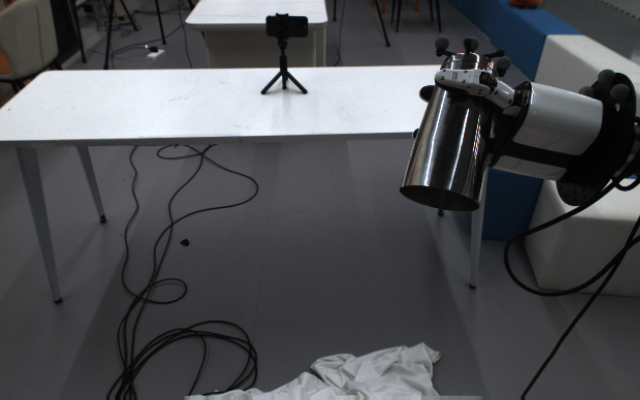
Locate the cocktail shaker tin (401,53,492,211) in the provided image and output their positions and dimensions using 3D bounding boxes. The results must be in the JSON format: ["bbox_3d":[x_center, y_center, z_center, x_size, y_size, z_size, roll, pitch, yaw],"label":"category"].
[{"bbox_3d":[0.162,-0.084,0.571,0.093,0.093,0.170,13,79,15],"label":"cocktail shaker tin"}]
